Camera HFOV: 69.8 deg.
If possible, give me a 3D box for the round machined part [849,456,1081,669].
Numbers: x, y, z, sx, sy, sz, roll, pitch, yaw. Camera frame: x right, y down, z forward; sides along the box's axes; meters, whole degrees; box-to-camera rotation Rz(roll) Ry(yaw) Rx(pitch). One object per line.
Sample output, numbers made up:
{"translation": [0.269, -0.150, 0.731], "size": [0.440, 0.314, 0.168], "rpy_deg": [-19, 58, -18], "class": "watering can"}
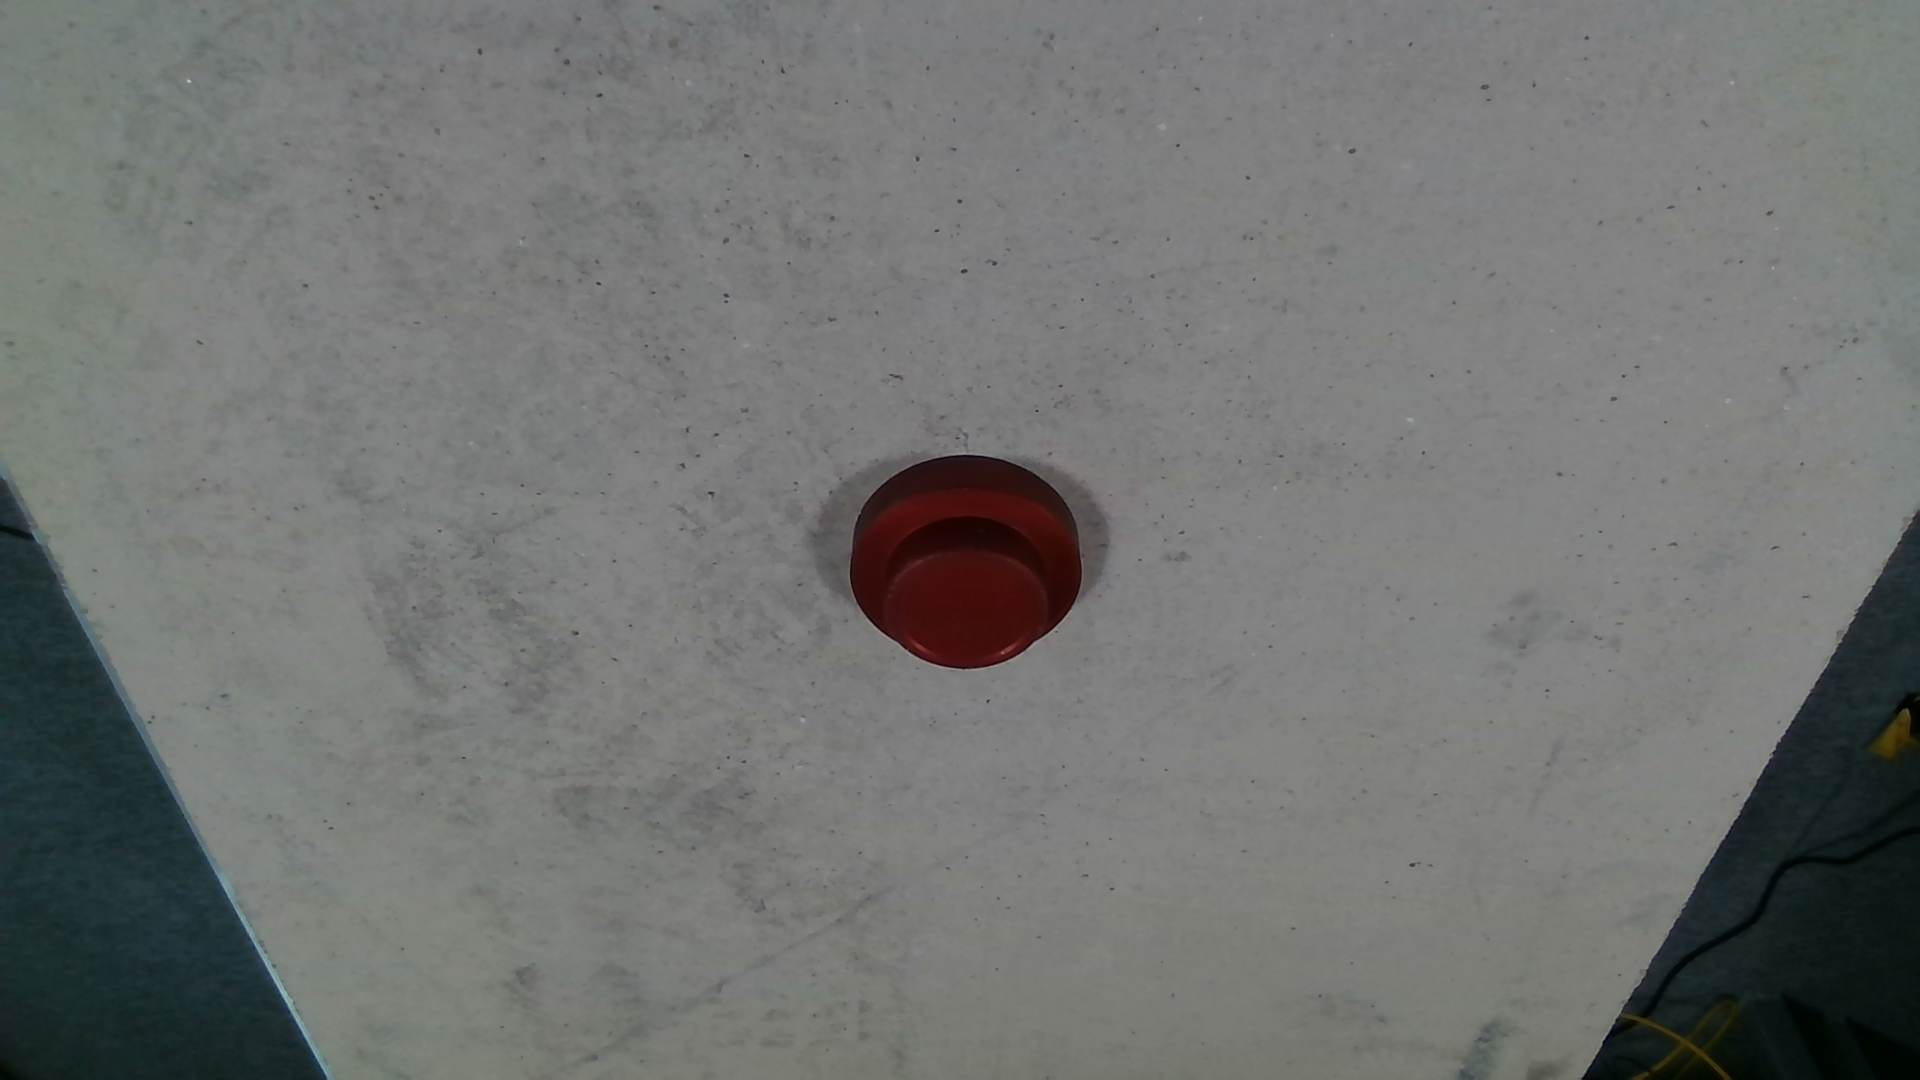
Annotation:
{"translation": [0.002, 0.016, 0.581], "size": [0.098, 0.042, 0.098], "rpy_deg": [0, 130, 0], "class": "round machined part"}
